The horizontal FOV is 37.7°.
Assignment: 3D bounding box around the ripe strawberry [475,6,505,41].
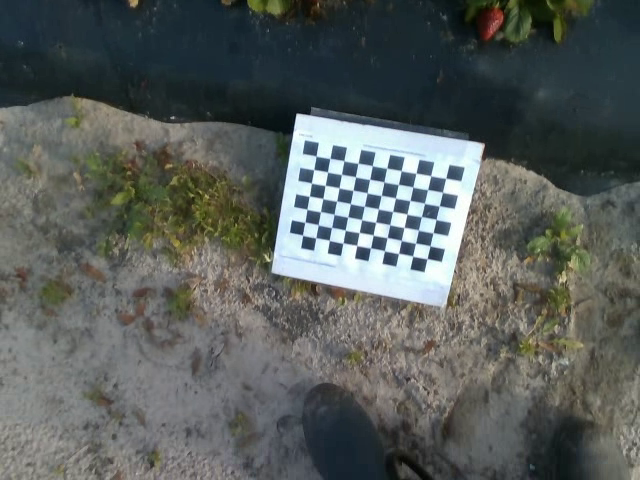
[{"bbox_3d":[0.156,-0.215,0.917,0.029,0.036,0.021,13,0,14],"label":"ripe strawberry"}]
